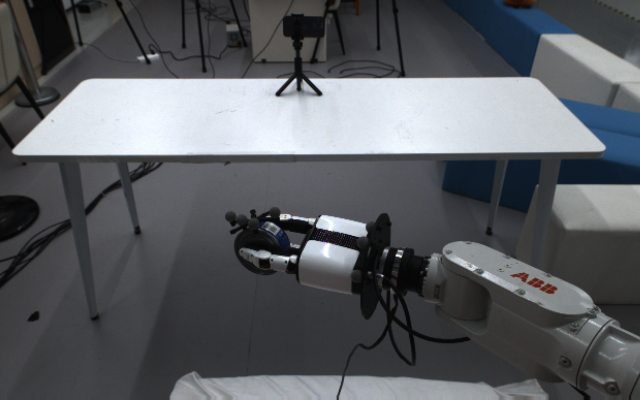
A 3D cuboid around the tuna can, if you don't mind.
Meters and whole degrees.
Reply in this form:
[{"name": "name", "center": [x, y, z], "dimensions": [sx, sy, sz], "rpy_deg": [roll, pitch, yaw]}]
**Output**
[{"name": "tuna can", "center": [-0.084, 0.076, 0.769], "dimensions": [0.085, 0.085, 0.034], "rpy_deg": [13, 28, 15]}]
